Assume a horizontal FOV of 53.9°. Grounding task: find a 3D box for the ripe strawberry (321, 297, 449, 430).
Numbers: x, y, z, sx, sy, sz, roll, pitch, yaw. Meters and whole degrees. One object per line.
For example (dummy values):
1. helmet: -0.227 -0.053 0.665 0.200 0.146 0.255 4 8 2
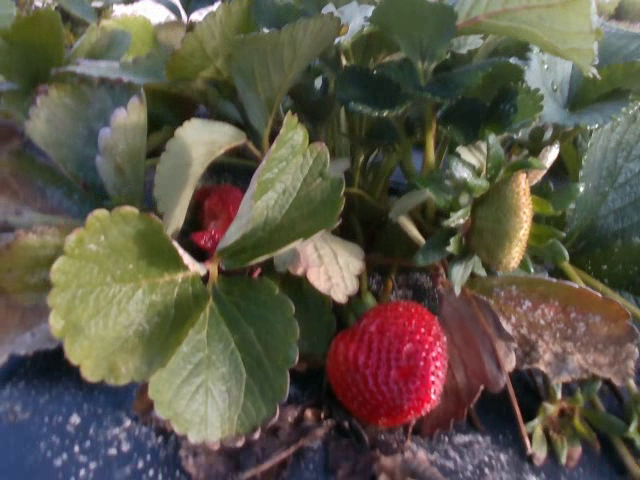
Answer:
1. ripe strawberry: 0.014 0.027 0.129 0.031 0.026 0.030 -11 26 -12
